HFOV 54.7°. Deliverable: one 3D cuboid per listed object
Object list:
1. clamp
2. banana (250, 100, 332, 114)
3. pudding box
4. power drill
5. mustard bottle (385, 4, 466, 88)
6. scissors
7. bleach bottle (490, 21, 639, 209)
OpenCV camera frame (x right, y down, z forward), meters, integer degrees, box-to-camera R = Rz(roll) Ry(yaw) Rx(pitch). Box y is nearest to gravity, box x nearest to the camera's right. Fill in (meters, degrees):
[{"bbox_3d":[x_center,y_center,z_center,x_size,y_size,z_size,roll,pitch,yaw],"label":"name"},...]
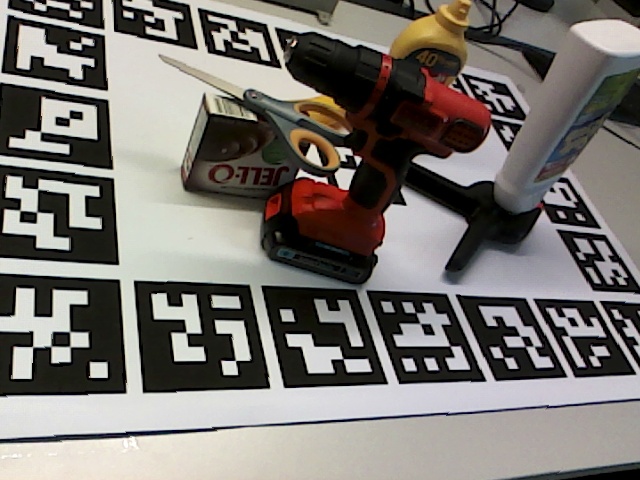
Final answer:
[{"bbox_3d":[0.201,-0.046,0.756,0.201,0.037,0.166,0,53,-33],"label":"clamp"},{"bbox_3d":[-0.003,-0.186,0.781,0.074,0.039,0.196,27,39,21],"label":"banana"},{"bbox_3d":[-0.077,-0.092,0.617,0.113,0.090,0.039,9,40,-25],"label":"pudding box"},{"bbox_3d":[0.026,-0.071,0.542,0.184,0.187,0.057,13,38,-16],"label":"power drill"},{"bbox_3d":[0.122,-0.208,0.778,0.096,0.192,0.058,17,44,-18],"label":"mustard bottle"},{"bbox_3d":[-0.060,-0.139,0.574,0.202,0.016,0.088,27,46,-12],"label":"scissors"},{"bbox_3d":[0.270,-0.121,0.711,0.102,0.251,0.068,-17,57,-32],"label":"bleach bottle"}]
